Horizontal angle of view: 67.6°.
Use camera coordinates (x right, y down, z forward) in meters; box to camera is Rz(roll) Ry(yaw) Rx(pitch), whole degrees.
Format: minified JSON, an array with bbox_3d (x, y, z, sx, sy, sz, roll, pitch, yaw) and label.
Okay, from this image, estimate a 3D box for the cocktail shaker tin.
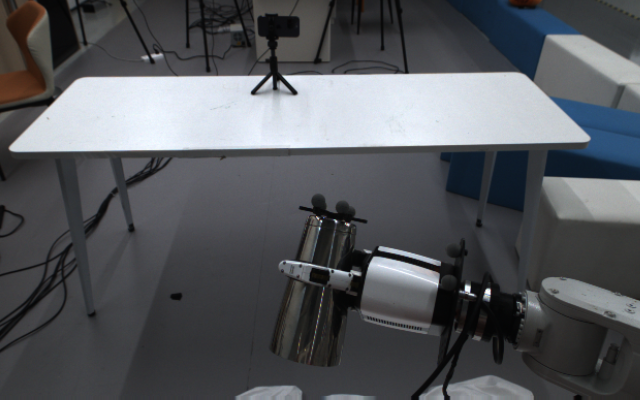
[{"bbox_3d":[0.000,0.110,0.610,0.093,0.170,0.093,12,-5,1],"label":"cocktail shaker tin"}]
